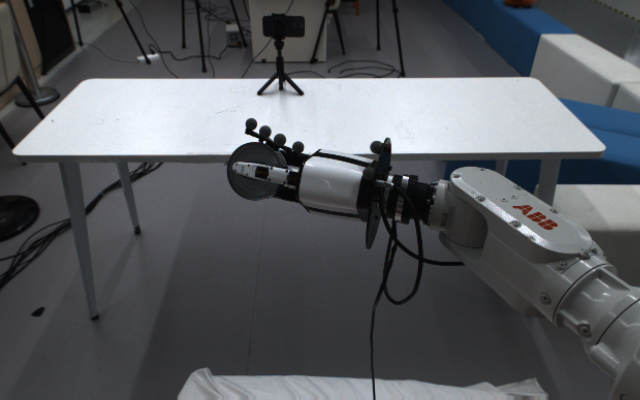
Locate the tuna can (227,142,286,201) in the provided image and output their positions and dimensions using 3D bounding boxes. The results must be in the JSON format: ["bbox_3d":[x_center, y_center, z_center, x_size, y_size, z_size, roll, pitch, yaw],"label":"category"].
[{"bbox_3d":[-0.091,-0.042,0.720,0.085,0.085,0.034,10,4,11],"label":"tuna can"}]
